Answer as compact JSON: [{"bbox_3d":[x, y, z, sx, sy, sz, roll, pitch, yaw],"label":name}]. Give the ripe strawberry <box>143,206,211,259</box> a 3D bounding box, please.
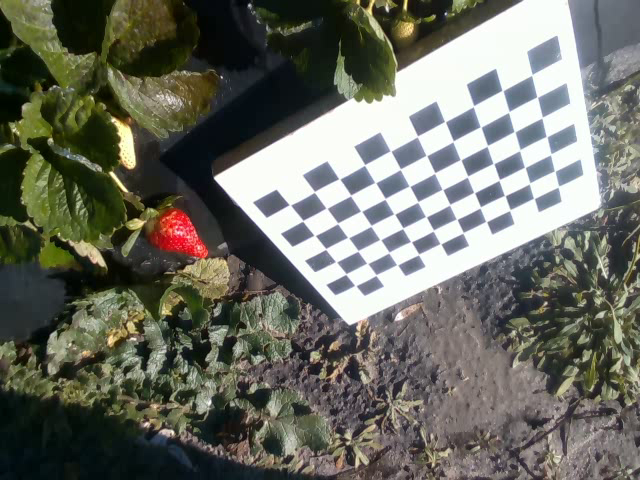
[{"bbox_3d":[-0.122,-0.002,0.538,0.068,0.040,0.048,33,-59,-33],"label":"ripe strawberry"}]
